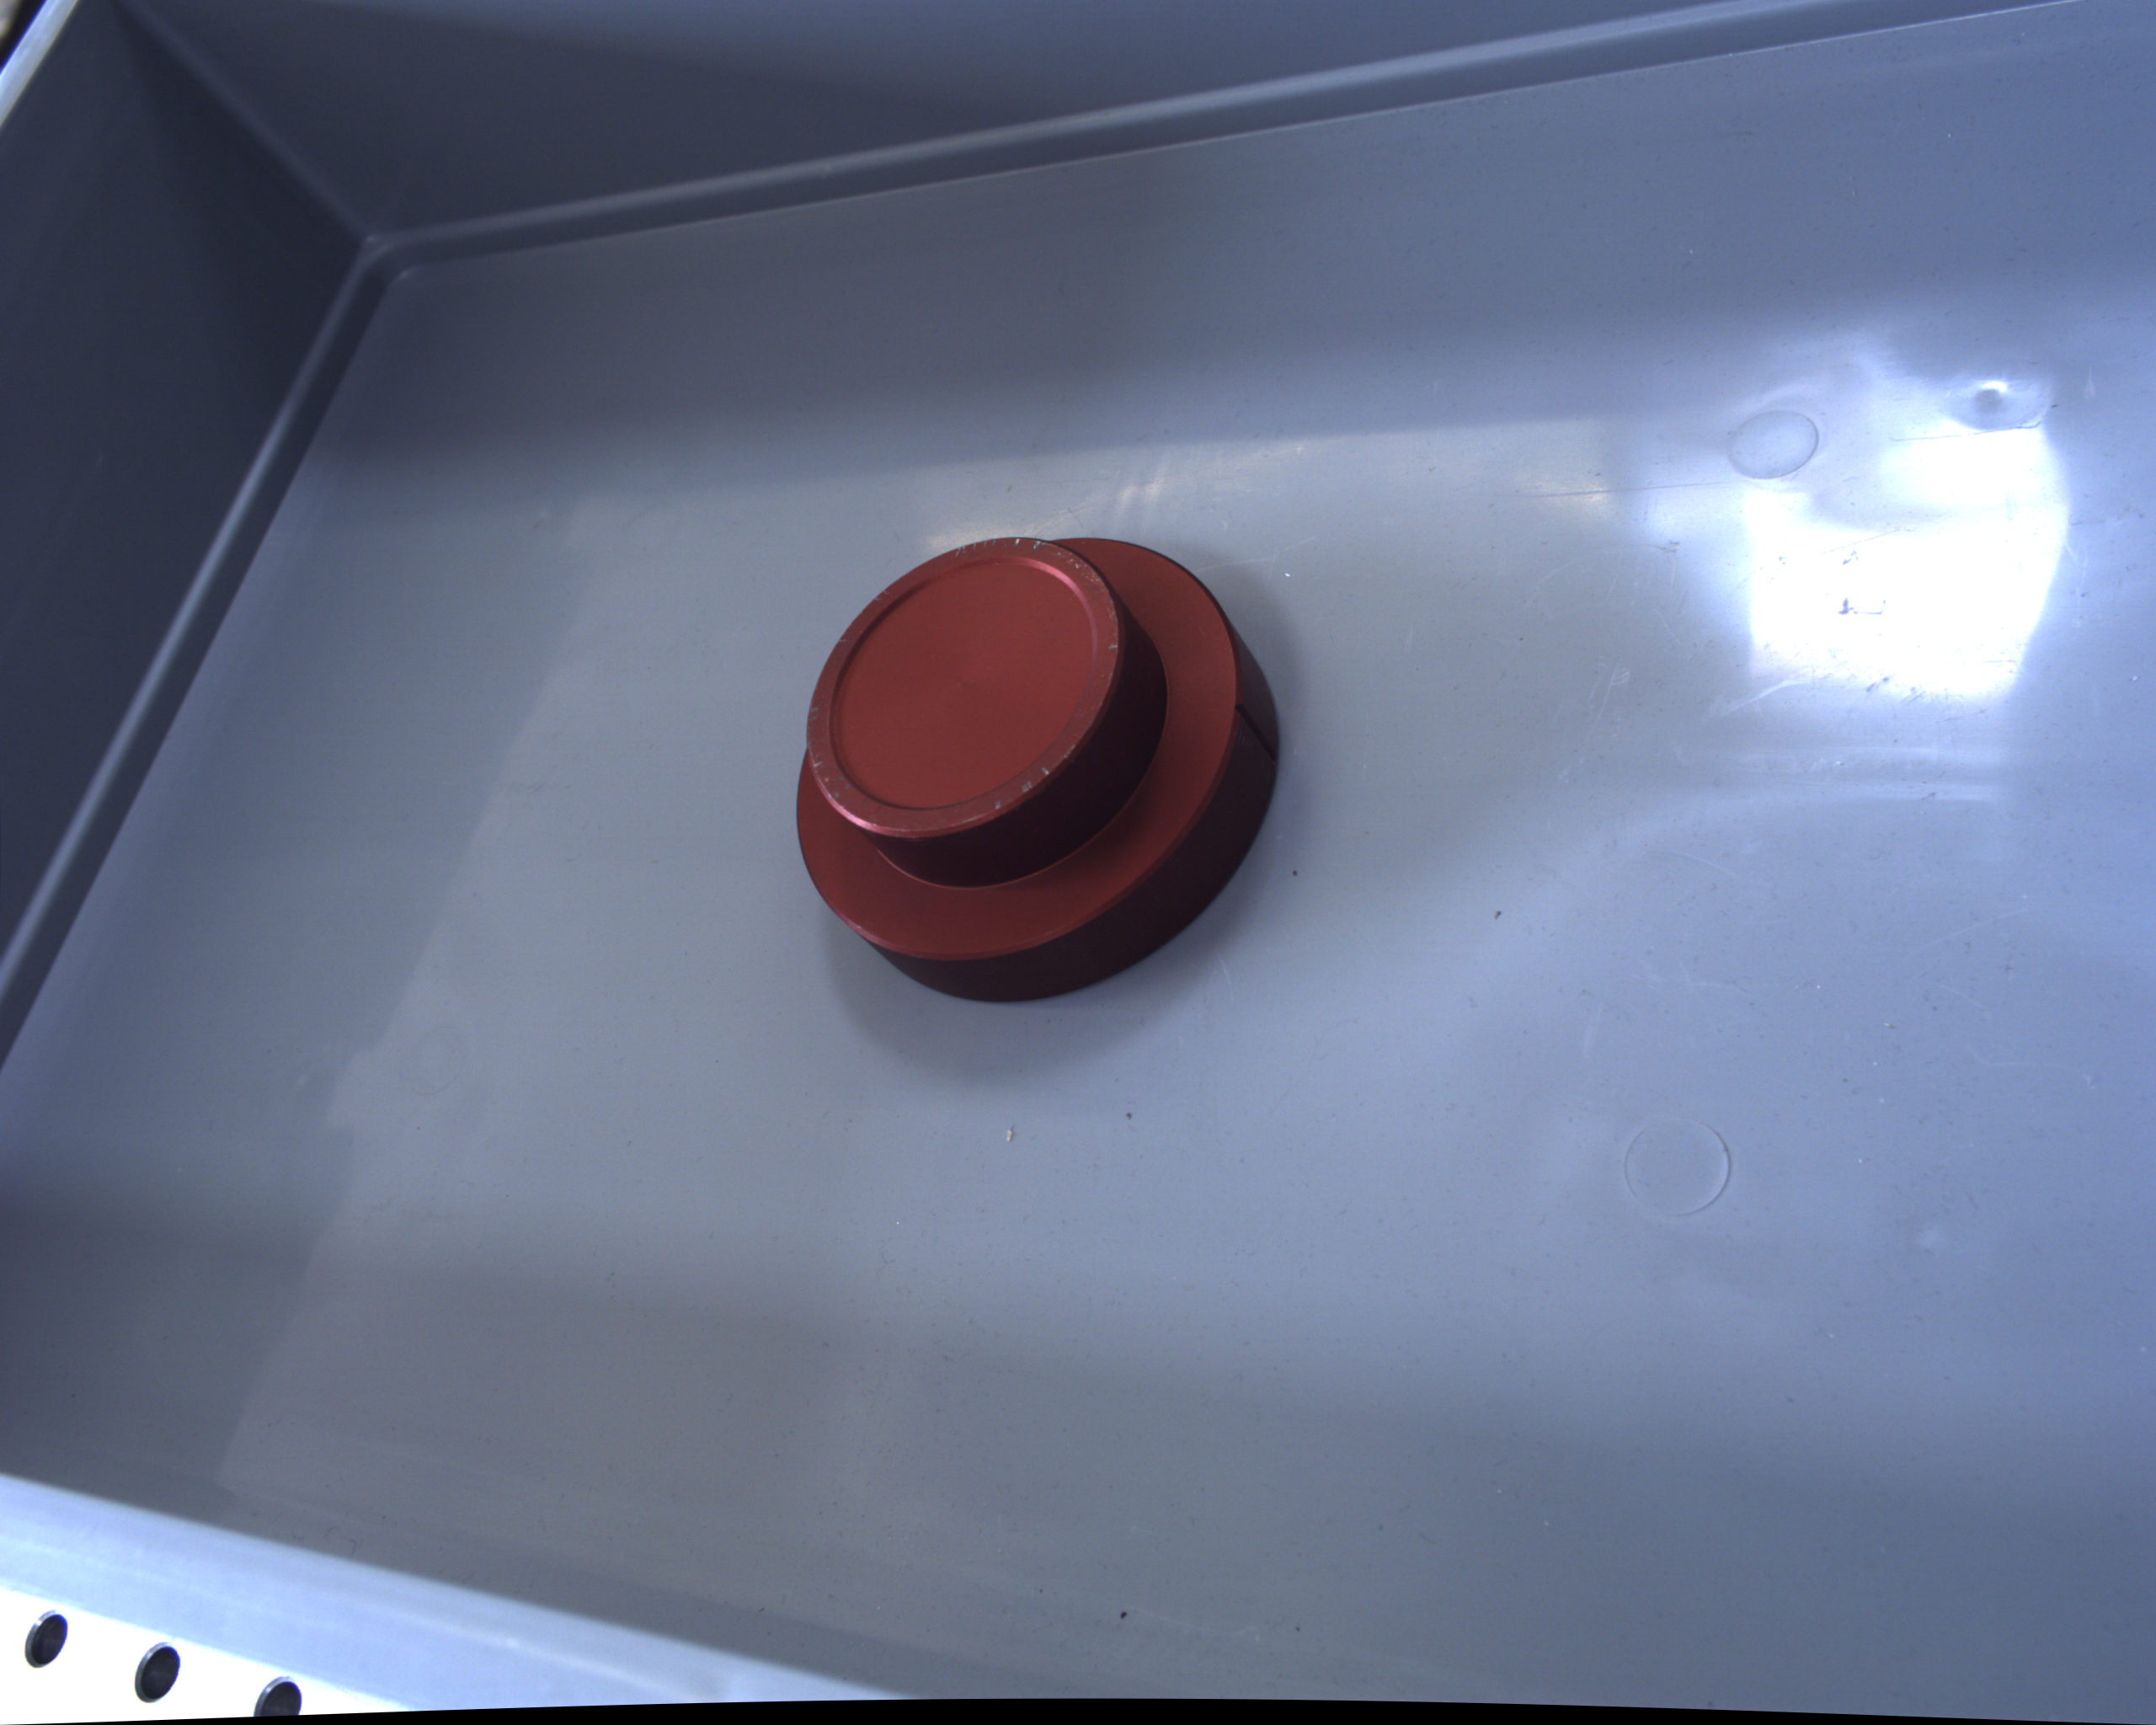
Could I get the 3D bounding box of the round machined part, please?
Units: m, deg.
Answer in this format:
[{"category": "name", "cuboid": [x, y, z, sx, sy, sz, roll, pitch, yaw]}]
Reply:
[{"category": "round machined part", "cuboid": [-0.014, -0.025, 0.414, 0.098, 0.042, 0.098, -13, 56, 21]}]
